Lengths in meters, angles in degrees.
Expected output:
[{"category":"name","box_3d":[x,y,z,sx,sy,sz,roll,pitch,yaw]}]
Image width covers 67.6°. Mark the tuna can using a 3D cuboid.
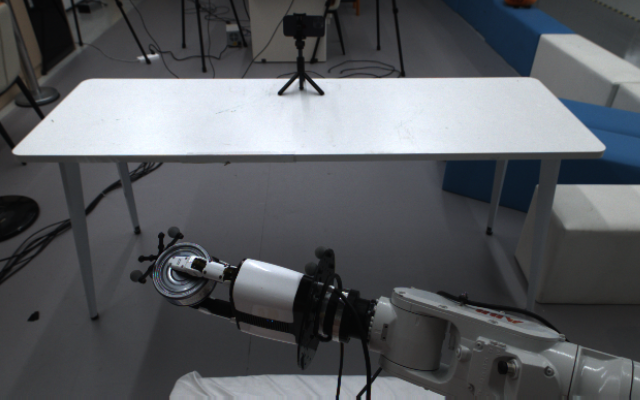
[{"category":"tuna can","box_3d":[-0.186,0.108,0.677,0.085,0.034,0.085,-1,63,1]}]
